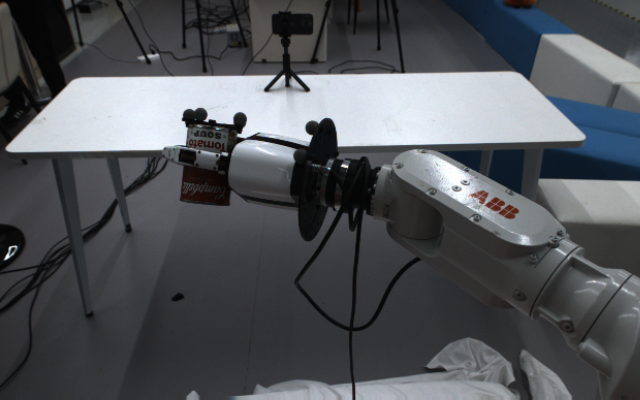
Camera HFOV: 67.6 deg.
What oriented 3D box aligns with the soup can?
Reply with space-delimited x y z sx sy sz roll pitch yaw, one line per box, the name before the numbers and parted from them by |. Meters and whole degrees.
soup can | -0.149 -0.045 0.652 0.067 0.101 0.067 7 3 0
